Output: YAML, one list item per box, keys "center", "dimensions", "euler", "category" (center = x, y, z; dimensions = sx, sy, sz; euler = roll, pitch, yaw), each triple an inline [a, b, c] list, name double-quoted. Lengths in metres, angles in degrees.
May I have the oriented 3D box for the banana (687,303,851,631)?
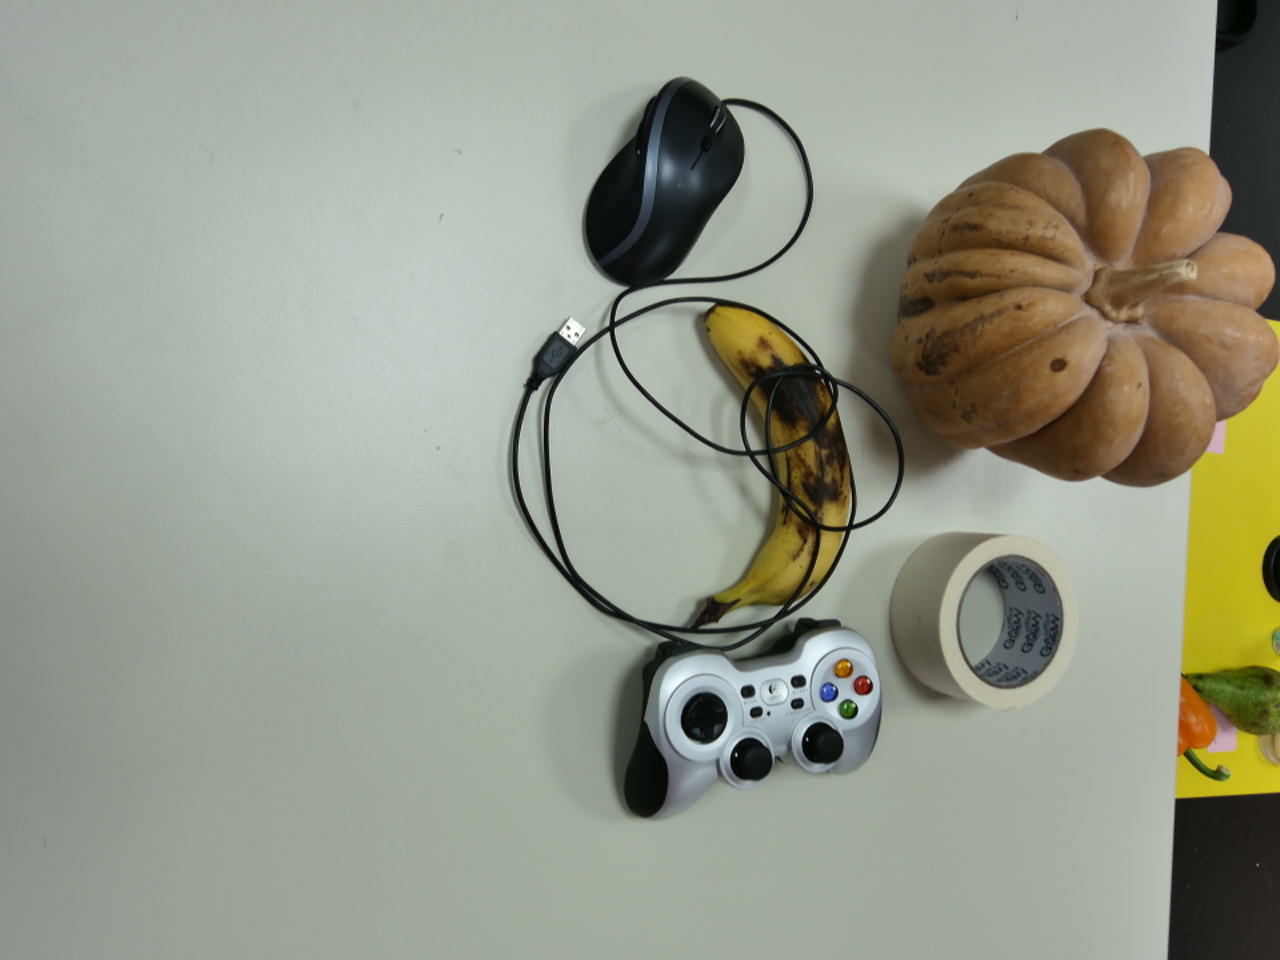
- center: [0.078, -0.007, 0.579]
  dimensions: [0.094, 0.039, 0.187]
  euler: [4, 89, -22]
  category: "banana"
